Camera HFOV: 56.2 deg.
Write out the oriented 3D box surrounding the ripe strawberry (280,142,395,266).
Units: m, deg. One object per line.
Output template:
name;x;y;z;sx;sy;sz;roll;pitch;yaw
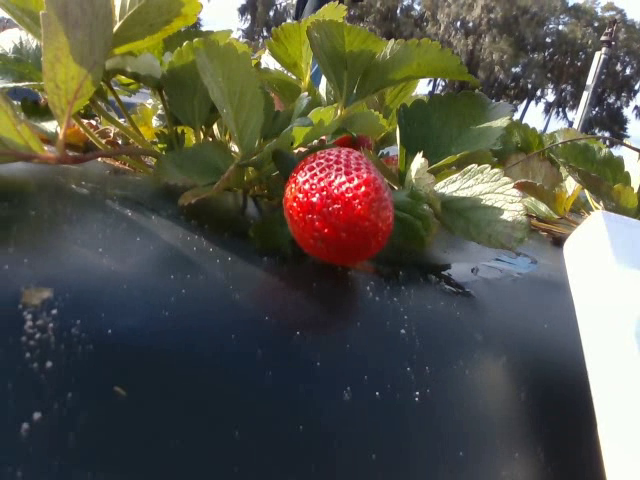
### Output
ripe strawberry;0.009;-0.011;0.169;0.041;0.041;0.047;-18;5;-18
